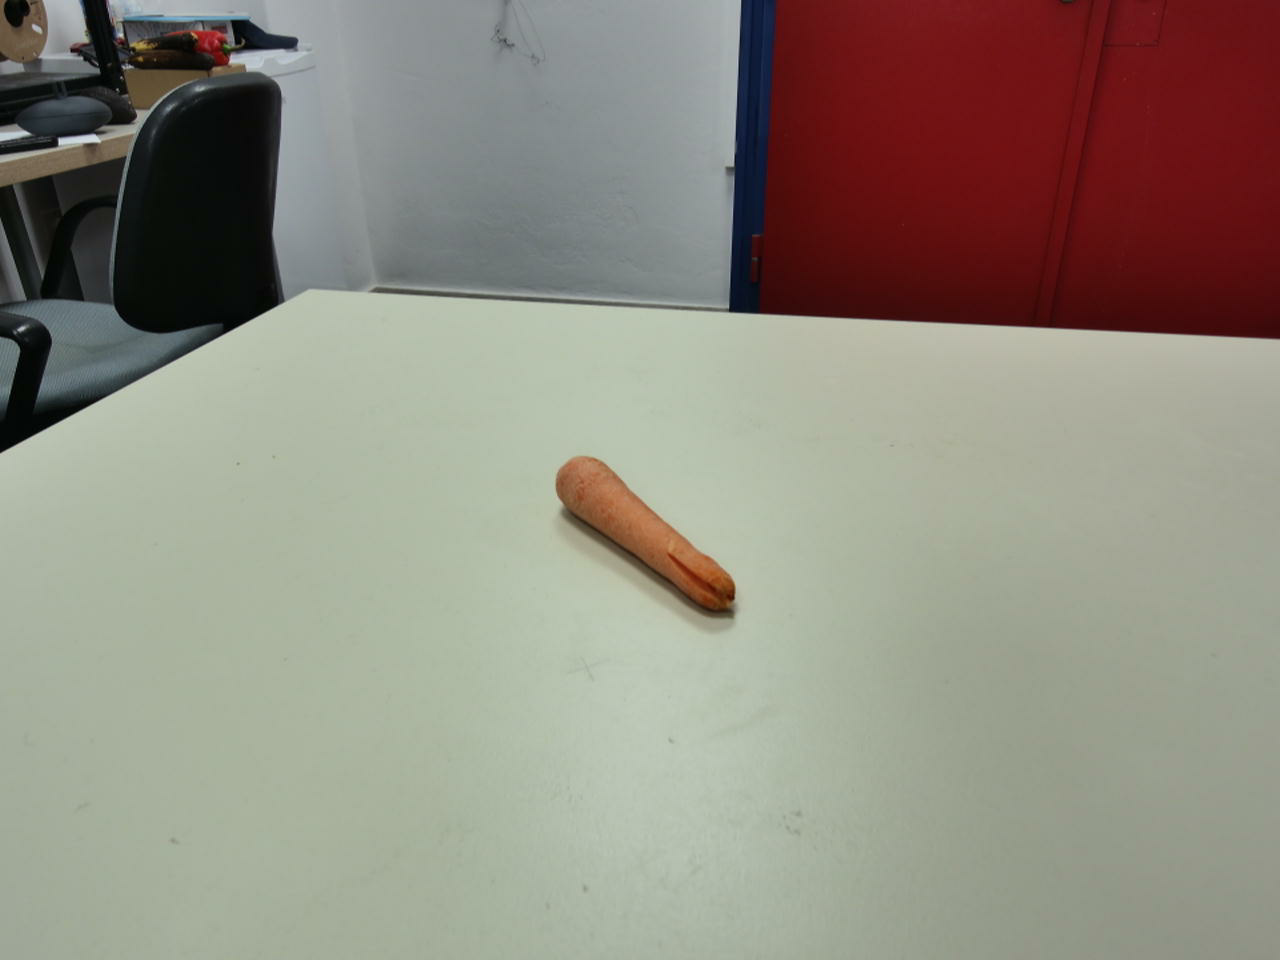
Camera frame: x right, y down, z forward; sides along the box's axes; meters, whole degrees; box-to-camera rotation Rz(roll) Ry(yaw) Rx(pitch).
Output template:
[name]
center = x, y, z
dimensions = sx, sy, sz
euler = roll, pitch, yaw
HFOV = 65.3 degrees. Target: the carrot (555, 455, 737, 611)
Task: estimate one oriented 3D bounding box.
[carrot]
center = -0.001, 0.021, 0.464
dimensions = 0.030, 0.032, 0.136
euler = -14, 28, -29
